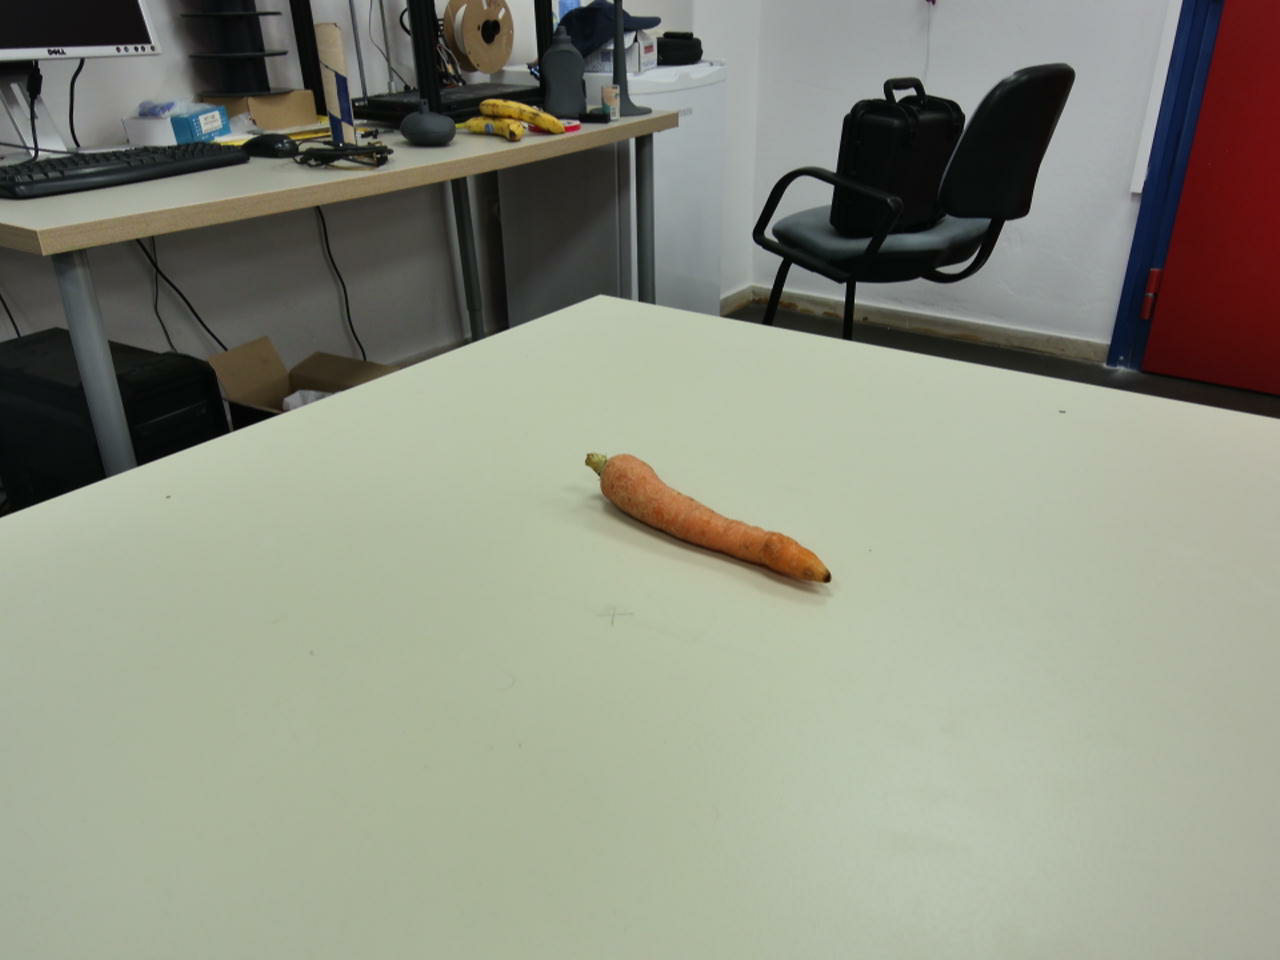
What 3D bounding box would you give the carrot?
[{"bbox_3d":[0.031,0.018,0.545,0.030,0.032,0.173,-22,32,-39],"label":"carrot"}]
